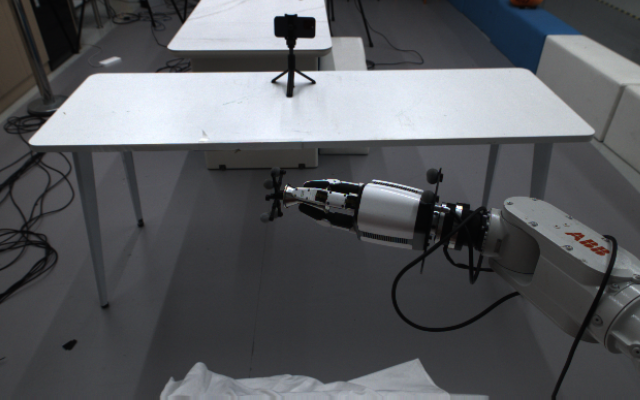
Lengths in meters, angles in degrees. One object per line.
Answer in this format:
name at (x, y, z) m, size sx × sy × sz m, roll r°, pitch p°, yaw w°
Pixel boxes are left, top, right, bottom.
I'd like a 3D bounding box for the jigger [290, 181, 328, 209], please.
jigger at (-0.013, -0.007, 0.757) m, size 0.071 × 0.043 × 0.043 m, roll 5°, pitch 34°, yaw 14°
